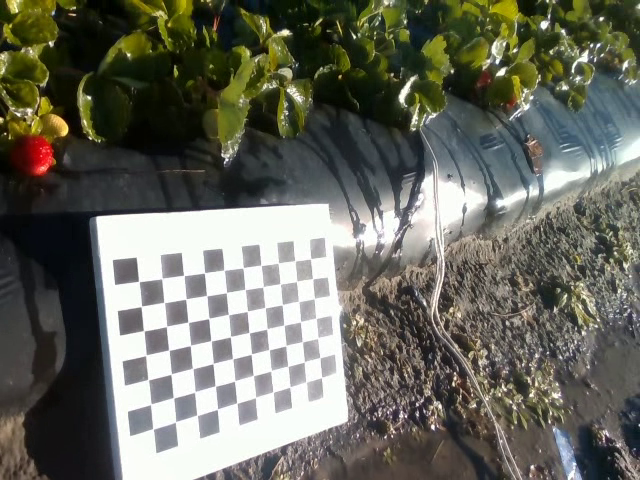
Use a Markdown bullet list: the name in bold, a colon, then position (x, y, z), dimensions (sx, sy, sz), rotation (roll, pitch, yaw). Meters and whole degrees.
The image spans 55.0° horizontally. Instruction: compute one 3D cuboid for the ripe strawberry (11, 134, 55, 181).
- **ripe strawberry**: position (-0.198, -0.055, 0.427), dimensions (0.039, 0.040, 0.039), rotation (-17, 34, -28)
